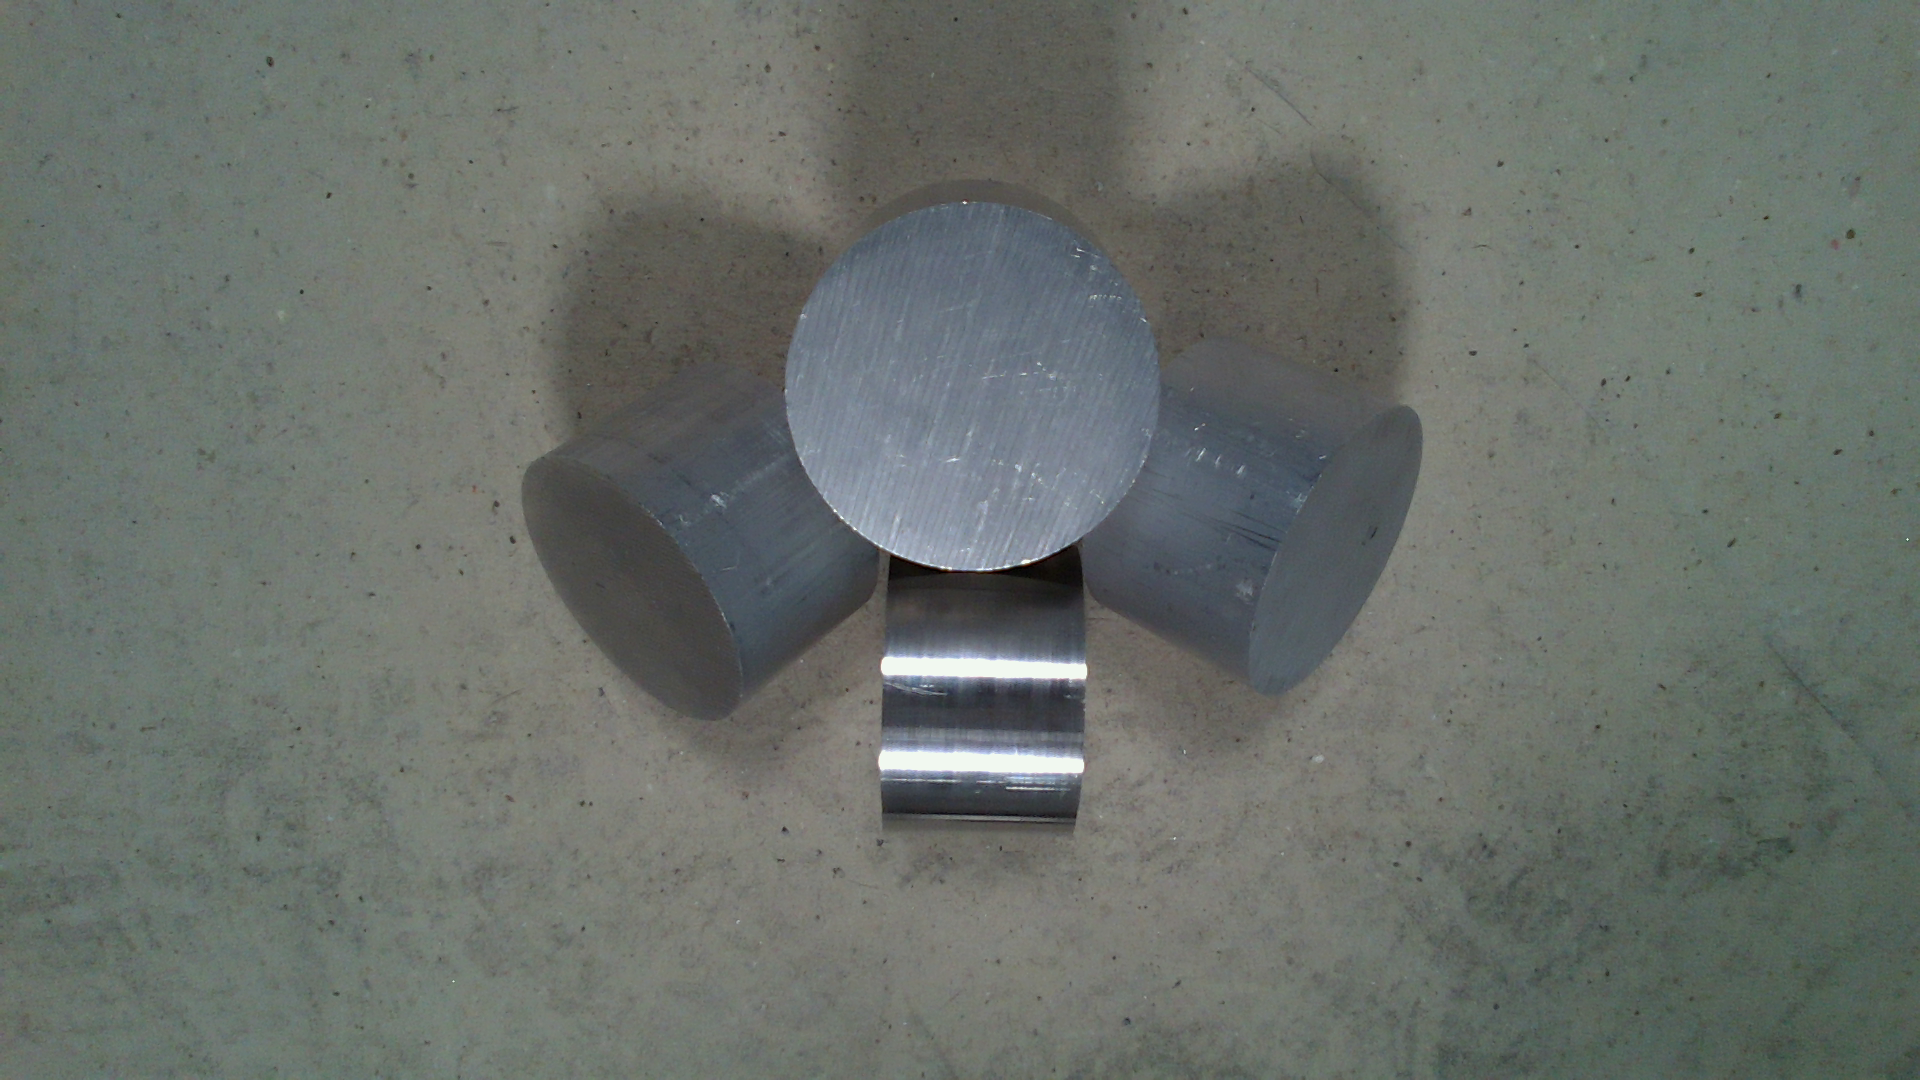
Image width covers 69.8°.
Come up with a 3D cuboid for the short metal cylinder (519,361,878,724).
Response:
[{"bbox_3d":[-0.068,0.001,0.359,0.080,0.050,0.080,29,140,28],"label":"short metal cylinder"}]

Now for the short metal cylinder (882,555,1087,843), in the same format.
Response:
[{"bbox_3d":[0.006,0.042,0.379,0.050,0.080,0.080,2,110,0],"label":"short metal cylinder"}]

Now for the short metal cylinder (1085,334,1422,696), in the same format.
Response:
[{"bbox_3d":[0.077,-0.007,0.356,0.050,0.080,0.080,28,113,31],"label":"short metal cylinder"}]

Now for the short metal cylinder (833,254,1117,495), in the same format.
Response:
[{"bbox_3d":[0.006,-0.039,0.367,0.080,0.050,0.080,0,110,0],"label":"short metal cylinder"}]

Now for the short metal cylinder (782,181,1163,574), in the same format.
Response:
[{"bbox_3d":[0.003,-0.039,0.312,0.080,0.050,0.080,0,110,0],"label":"short metal cylinder"}]
